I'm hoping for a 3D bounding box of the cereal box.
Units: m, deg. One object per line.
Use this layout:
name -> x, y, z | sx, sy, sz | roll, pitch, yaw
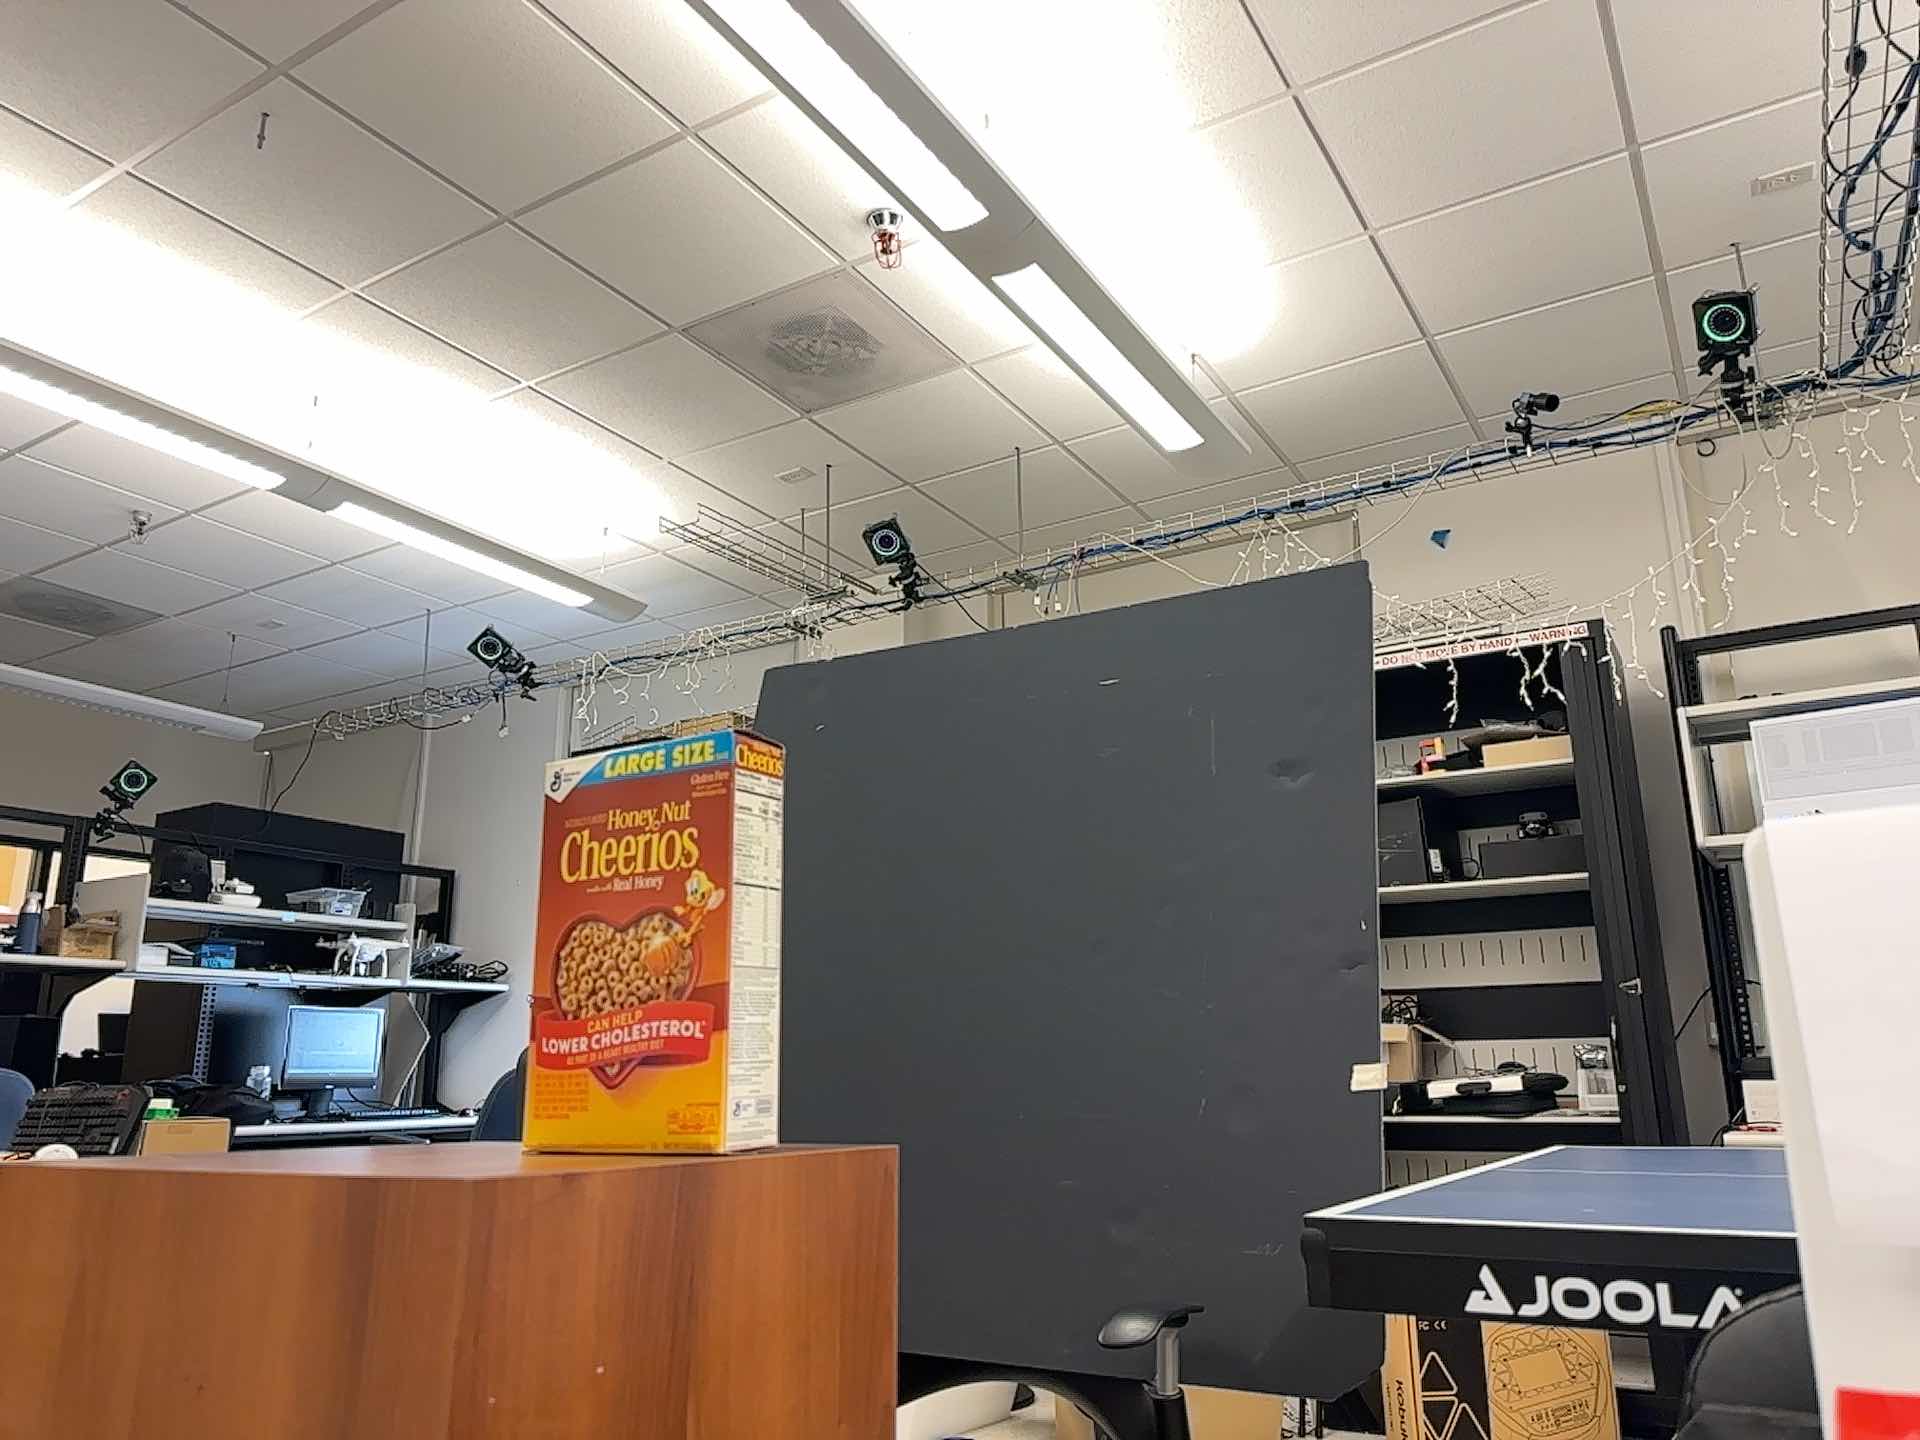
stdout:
cereal box -> -0.238, 0.165, 1.026 | 0.195, 0.297, 0.065 | -11, -16, 37
